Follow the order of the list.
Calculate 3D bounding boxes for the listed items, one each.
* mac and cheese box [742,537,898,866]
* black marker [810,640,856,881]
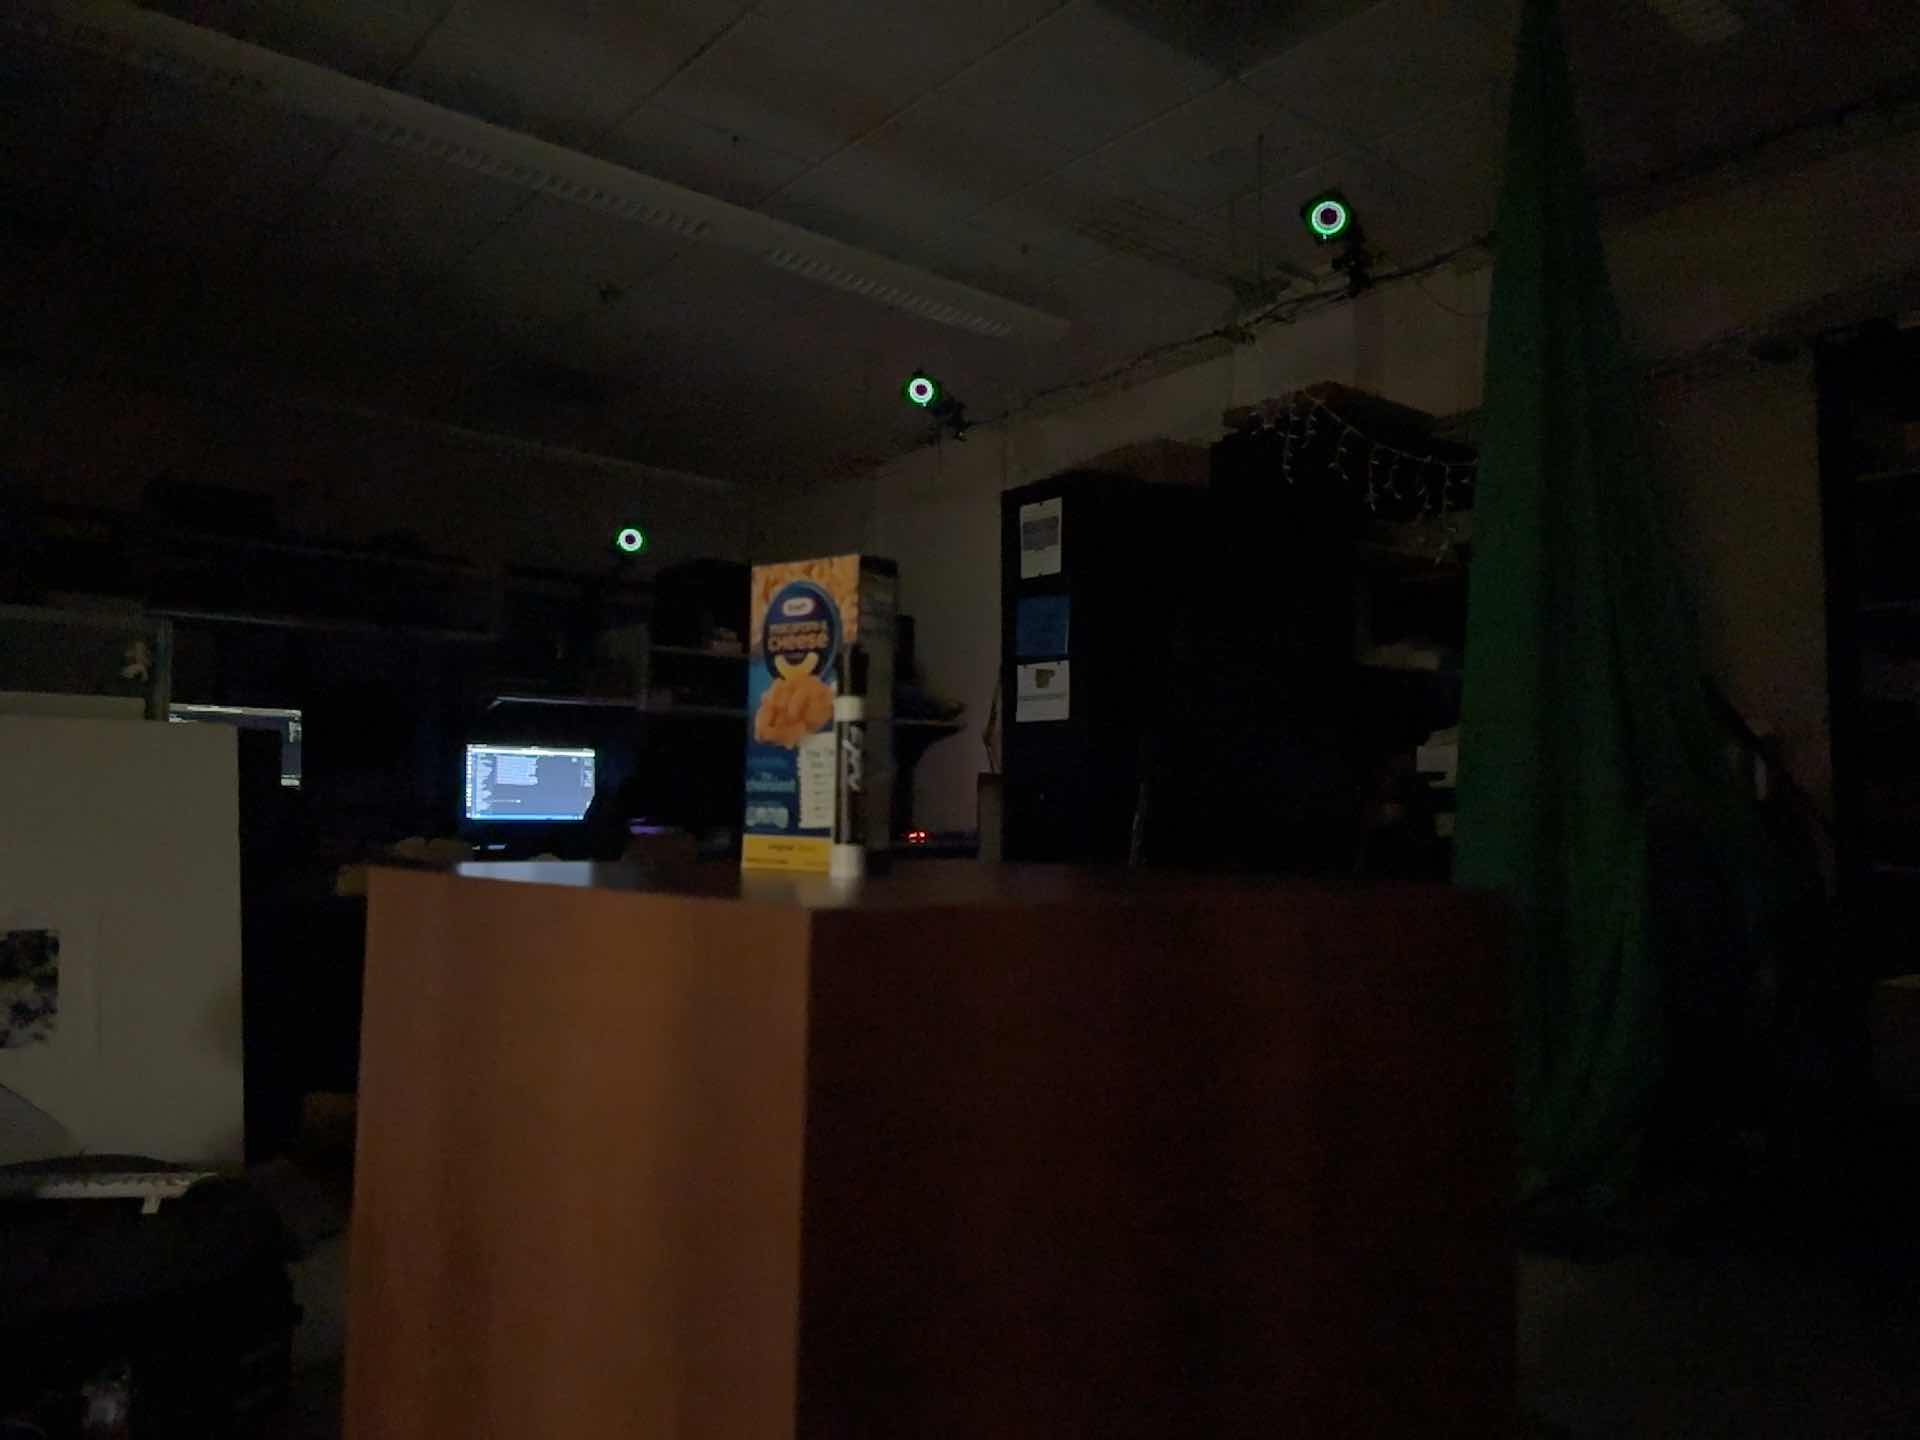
[{"bbox_3d":[-0.082,-0.009,0.782,0.088,0.181,0.035,-1,-3,44],"label":"mac and cheese box"},{"bbox_3d":[-0.064,0.020,0.680,0.020,0.121,0.020,2,-3,0],"label":"black marker"}]
